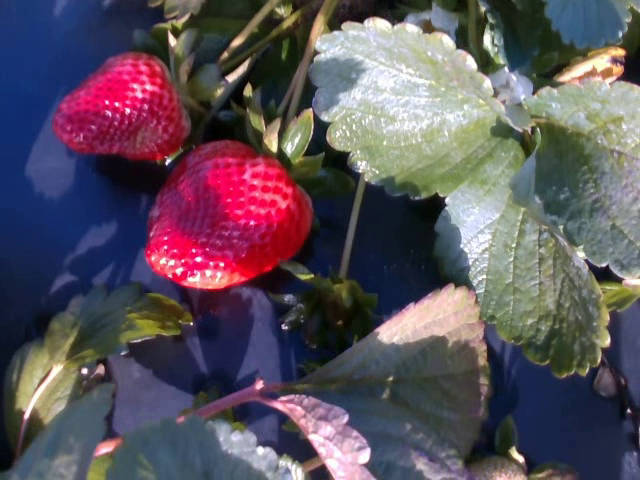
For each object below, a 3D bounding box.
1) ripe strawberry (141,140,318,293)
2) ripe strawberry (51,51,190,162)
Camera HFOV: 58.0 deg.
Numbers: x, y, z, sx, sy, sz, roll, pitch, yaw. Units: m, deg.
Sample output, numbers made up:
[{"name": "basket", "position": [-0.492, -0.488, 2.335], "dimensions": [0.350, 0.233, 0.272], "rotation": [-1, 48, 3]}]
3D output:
[{"name": "ripe strawberry", "position": [-0.031, -0.004, 0.178], "dimensions": [0.052, 0.046, 0.058], "rotation": [22, 51, 31]}, {"name": "ripe strawberry", "position": [-0.069, -0.043, 0.191], "dimensions": [0.043, 0.037, 0.052], "rotation": [11, 48, 32]}]
